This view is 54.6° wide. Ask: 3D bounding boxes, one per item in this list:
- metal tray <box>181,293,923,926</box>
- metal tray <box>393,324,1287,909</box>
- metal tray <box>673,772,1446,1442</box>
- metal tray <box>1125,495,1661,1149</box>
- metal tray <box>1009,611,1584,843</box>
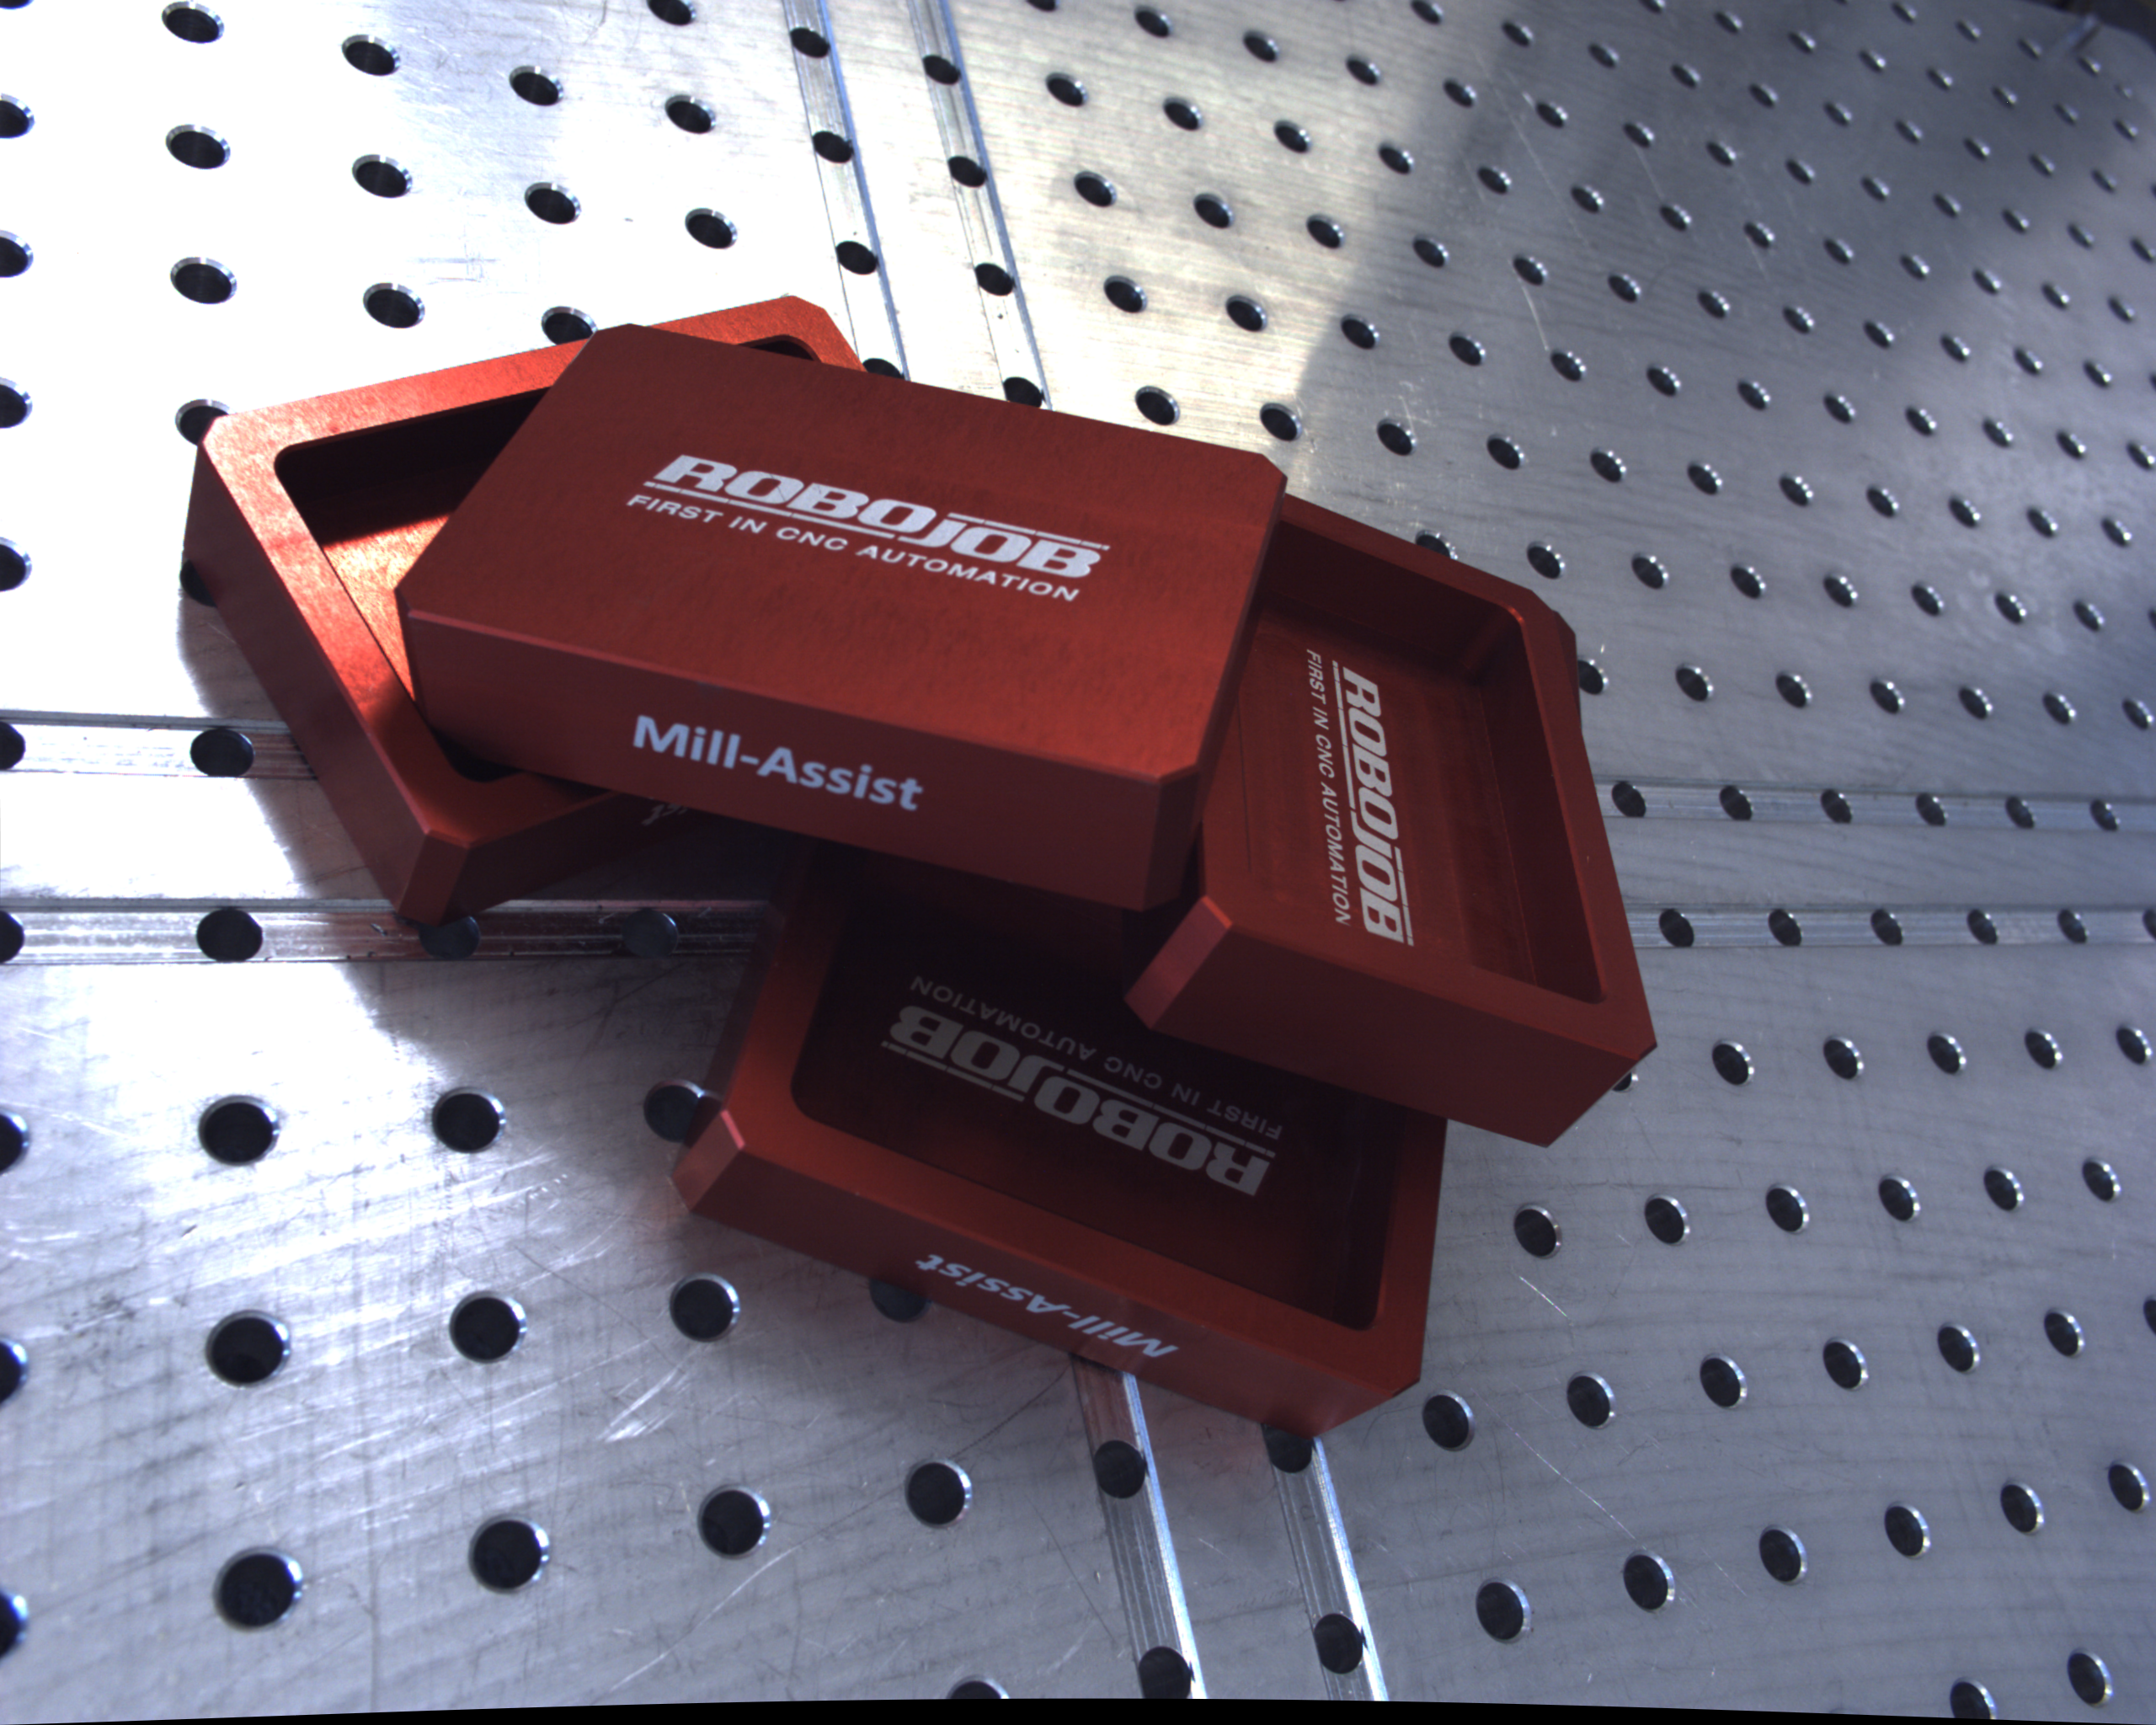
[{"bbox_3d":[-0.084,-0.053,0.391,0.131,0.030,0.090,-25,75,-36],"label":"metal tray"},{"bbox_3d":[-0.037,-0.046,0.361,0.131,0.030,0.090,13,45,6],"label":"metal tray"},{"bbox_3d":[0.003,0.040,0.381,0.131,0.030,0.090,24,53,-14],"label":"metal tray"},{"bbox_3d":[0.056,-0.015,0.403,0.091,0.030,0.130,18,43,-17],"label":"metal tray"},{"bbox_3d":[0.046,-0.031,0.447,0.131,0.030,0.090,17,55,-17],"label":"metal tray"}]
